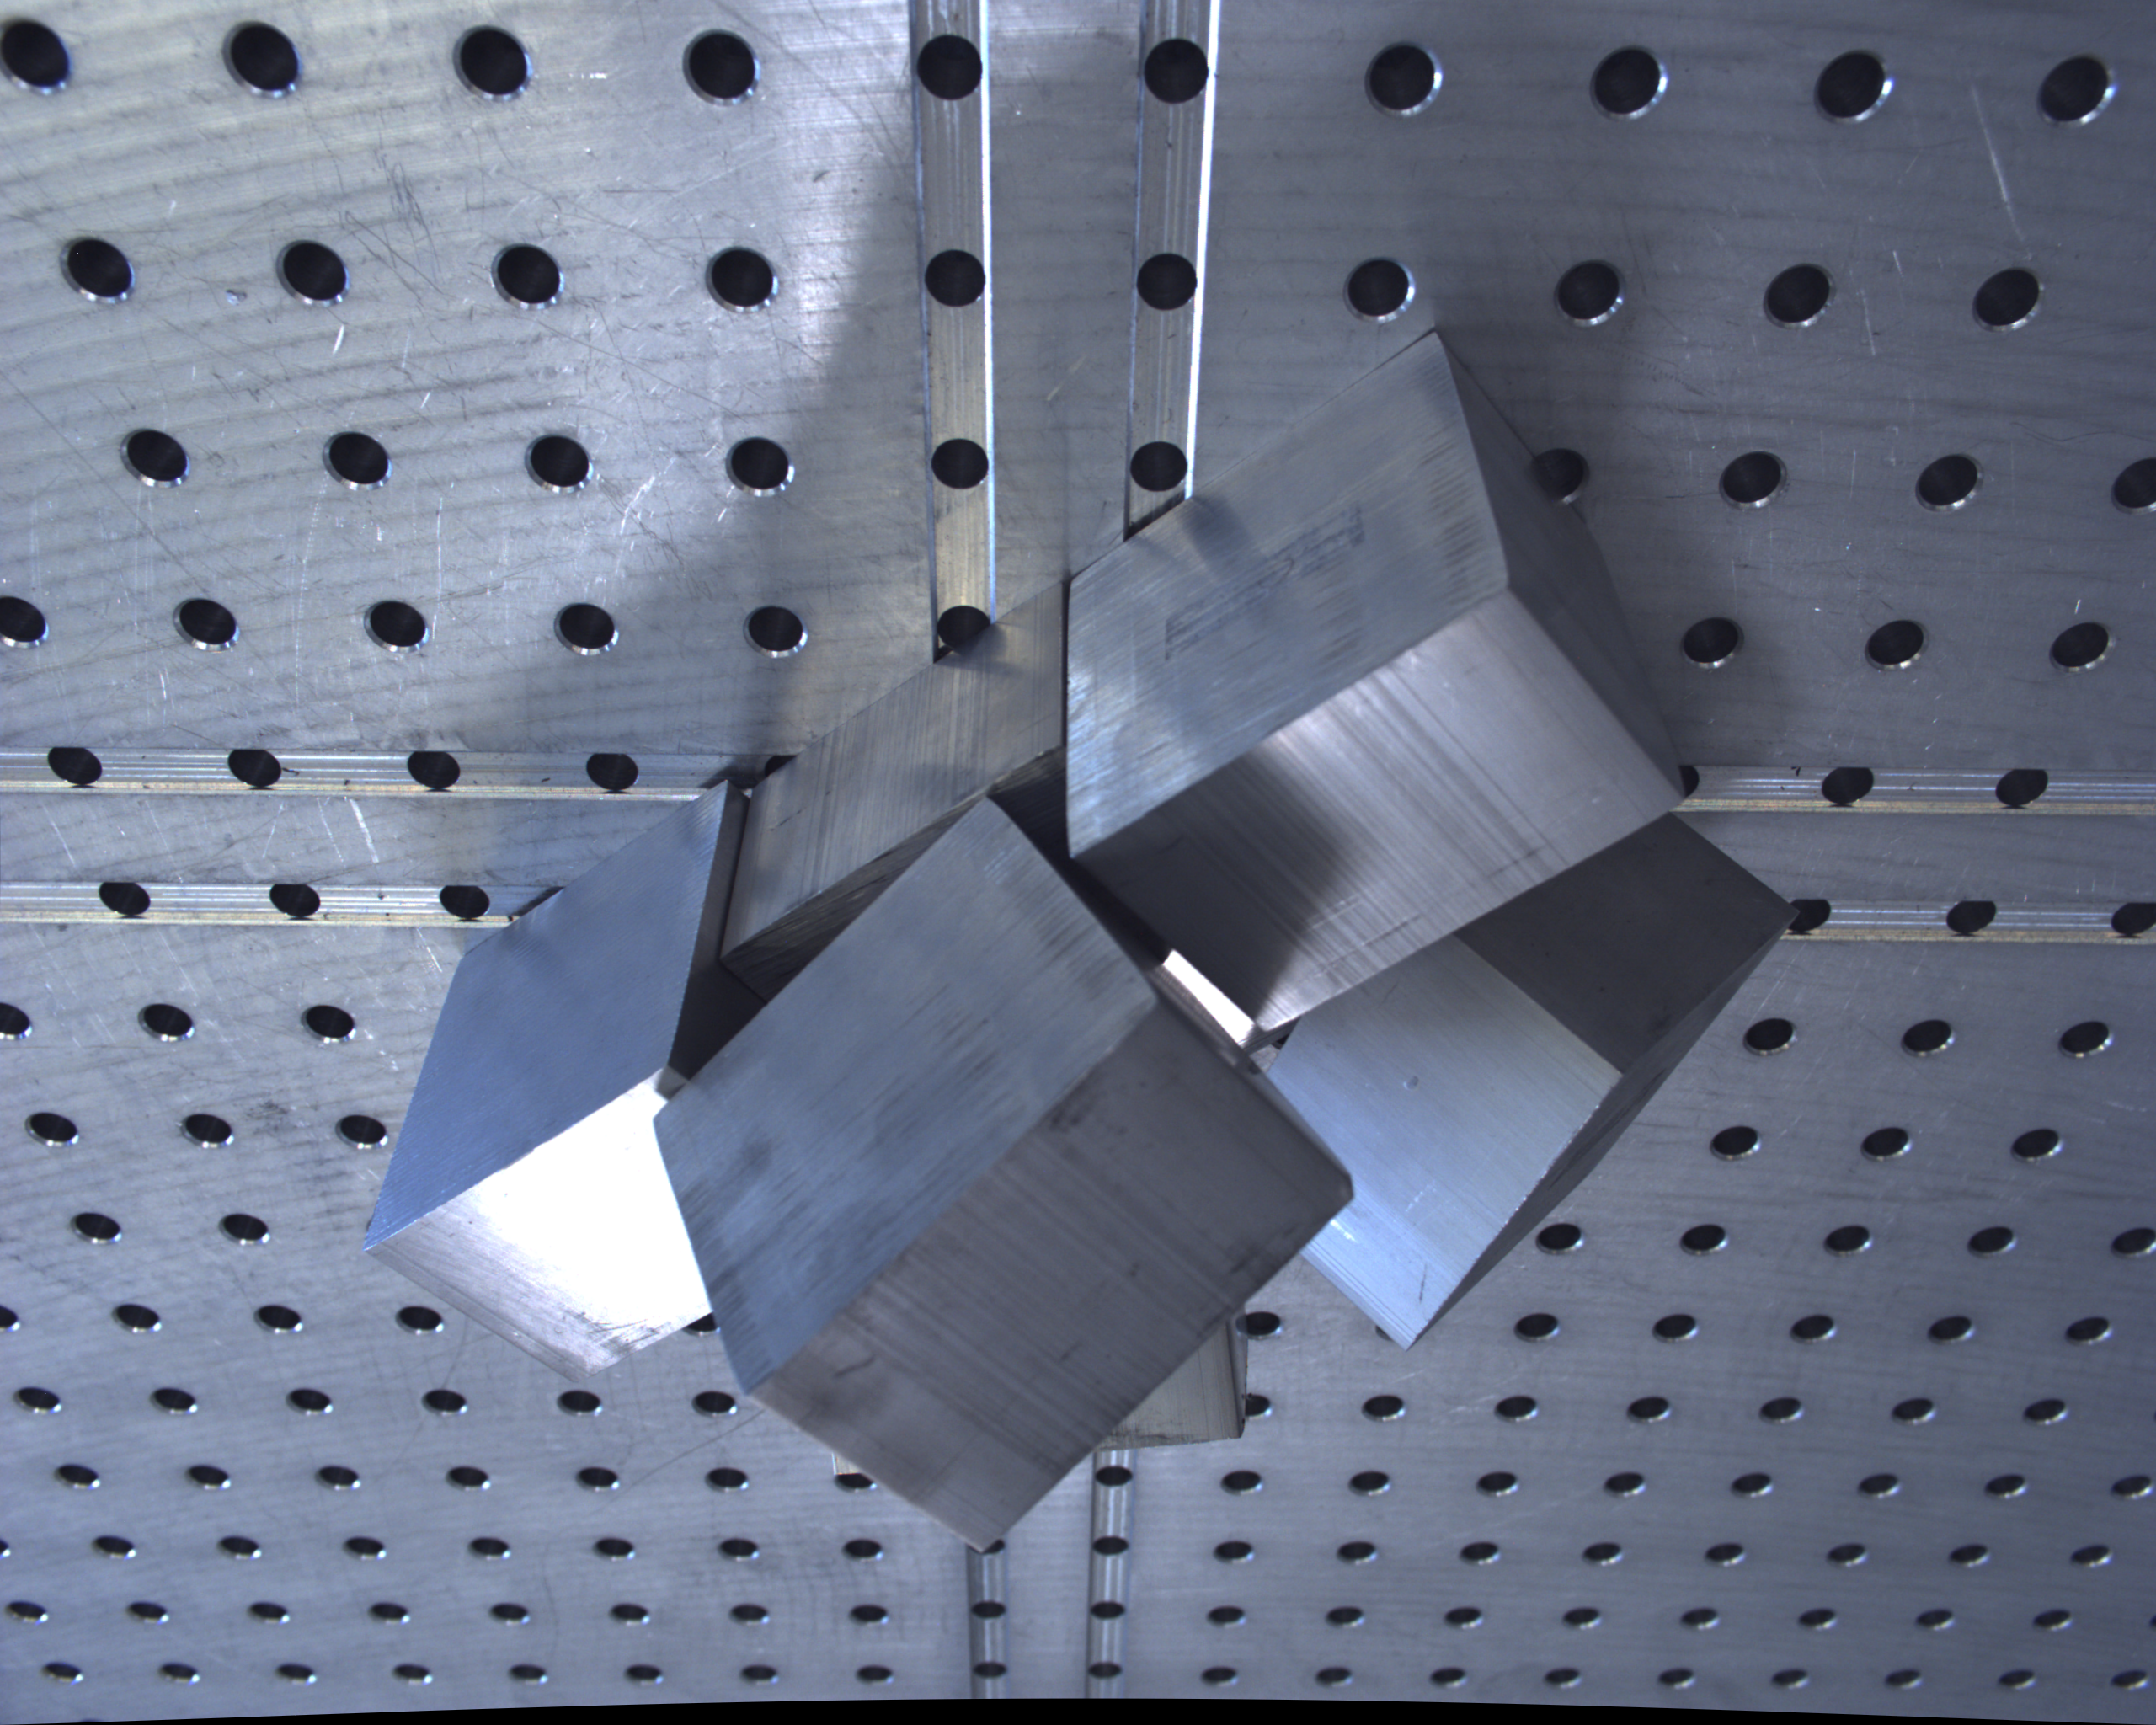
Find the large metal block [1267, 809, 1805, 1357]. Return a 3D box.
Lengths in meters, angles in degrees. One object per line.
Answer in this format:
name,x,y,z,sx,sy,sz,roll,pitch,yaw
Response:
large metal block,0.080,0.034,0.396,0.050,0.081,0.080,42,130,19

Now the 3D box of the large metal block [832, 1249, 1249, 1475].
large metal block,-0.007,0.087,0.440,0.080,0.080,0.050,-7,93,6

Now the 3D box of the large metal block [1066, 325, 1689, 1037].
large metal block,0.045,-0.031,0.349,0.080,0.080,0.050,-32,124,24

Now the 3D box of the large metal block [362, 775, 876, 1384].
large metal block,-0.084,0.042,0.409,0.080,0.080,0.050,-31,124,23

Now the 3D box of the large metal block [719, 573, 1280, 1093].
large metal block,-0.009,0.006,0.401,0.080,0.050,0.080,-32,123,24

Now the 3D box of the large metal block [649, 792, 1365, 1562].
large metal block,-0.015,0.046,0.332,0.080,0.080,0.050,-44,121,1
